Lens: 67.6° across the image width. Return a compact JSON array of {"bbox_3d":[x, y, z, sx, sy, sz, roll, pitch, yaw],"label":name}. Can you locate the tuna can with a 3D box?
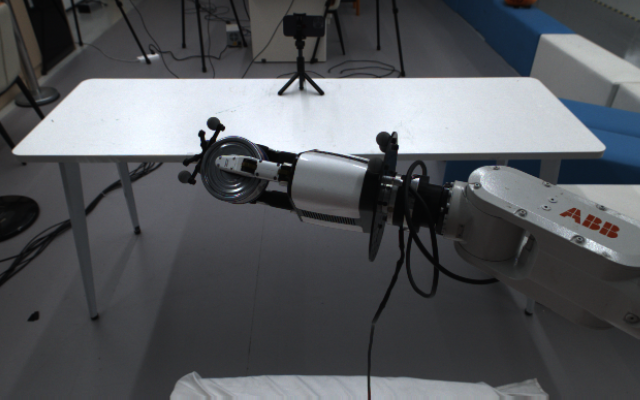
[{"bbox_3d":[-0.106,-0.035,0.622,0.085,0.085,0.034,9,-4,10],"label":"tuna can"}]
